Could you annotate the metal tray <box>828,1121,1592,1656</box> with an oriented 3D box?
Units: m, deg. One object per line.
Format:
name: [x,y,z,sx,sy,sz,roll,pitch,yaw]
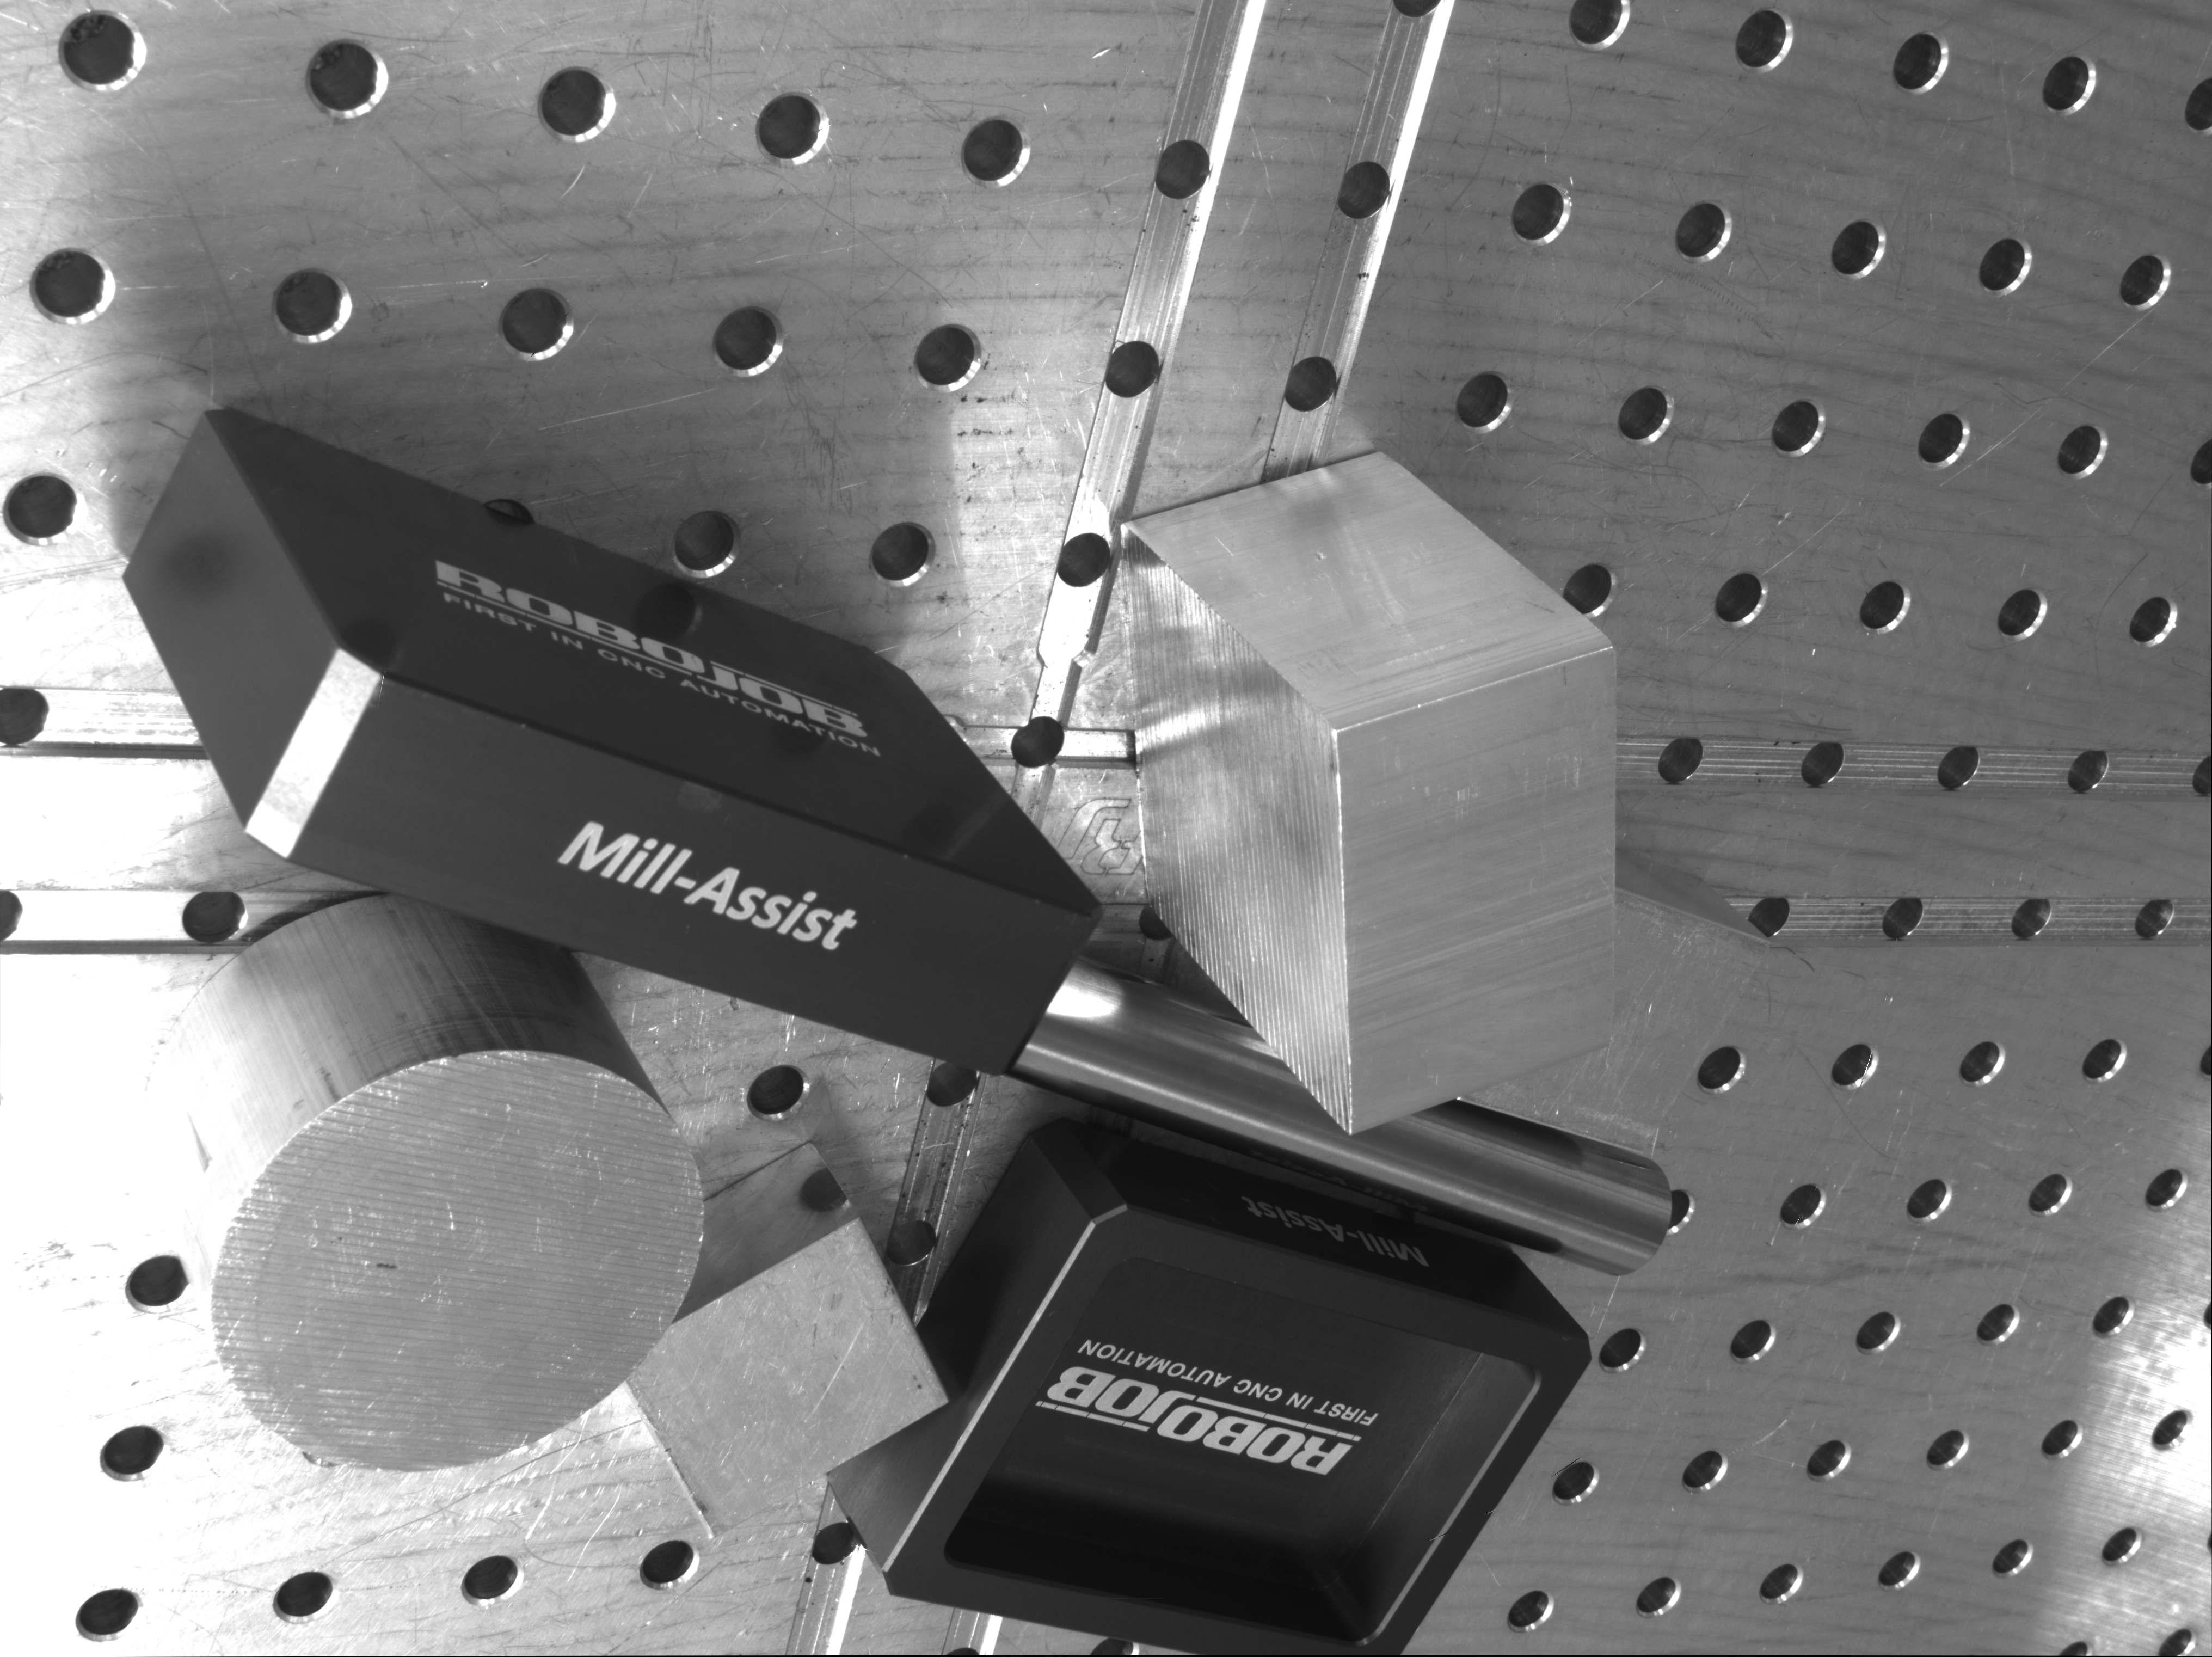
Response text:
metal tray: [0.022,0.115,0.718,0.130,0.030,0.090,20,108,-35]

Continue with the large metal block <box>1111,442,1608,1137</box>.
large metal block: [0.043,-0.008,0.625,0.050,0.080,0.080,-17,125,-18]

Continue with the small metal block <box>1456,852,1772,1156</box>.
small metal block: [0.092,0.031,0.708,0.050,0.025,0.050,18,108,-35]

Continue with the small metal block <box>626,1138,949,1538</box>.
small metal block: [-0.063,0.092,0.663,0.050,0.025,0.050,-29,128,-10]

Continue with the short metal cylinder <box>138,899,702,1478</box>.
short metal cylinder: [-0.112,0.058,0.598,0.080,0.050,0.080,-14,124,-21]

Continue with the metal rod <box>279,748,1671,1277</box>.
metal rod: [-0.009,0.035,0.656,0.301,0.025,0.025,21,107,-36]

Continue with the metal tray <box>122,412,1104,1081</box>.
metal tray: [-0.074,-0.012,0.550,0.130,0.090,0.030,20,108,-35]
